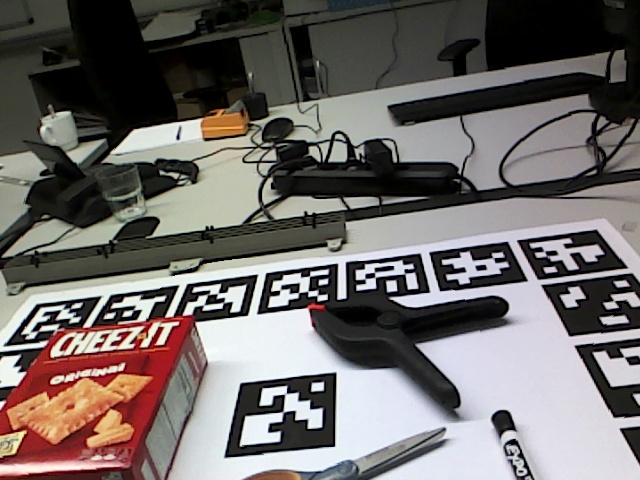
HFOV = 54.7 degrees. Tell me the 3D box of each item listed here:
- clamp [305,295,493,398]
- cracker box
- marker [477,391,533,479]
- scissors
[{"bbox_3d":[0.069,0.098,0.692,0.204,0.036,0.165,8,30,33],"label":"clamp"},{"bbox_3d":[-0.219,0.157,0.618,0.164,0.072,0.214,-7,25,8],"label":"cracker box"},{"bbox_3d":[0.151,0.166,0.505,0.019,0.019,0.121,-10,25,3],"label":"marker"},{"bbox_3d":[0.011,0.183,0.528,0.202,0.016,0.088,-19,25,-21],"label":"scissors"}]
